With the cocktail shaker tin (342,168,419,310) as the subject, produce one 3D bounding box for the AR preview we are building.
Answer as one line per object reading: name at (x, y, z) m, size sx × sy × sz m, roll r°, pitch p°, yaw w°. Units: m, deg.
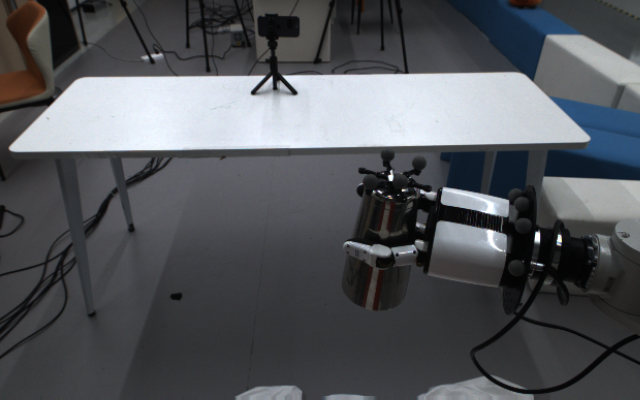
cocktail shaker tin at (0.084, 0.050, 0.628) m, size 0.093 × 0.170 × 0.093 m, roll 3°, pitch 36°, yaw -2°
